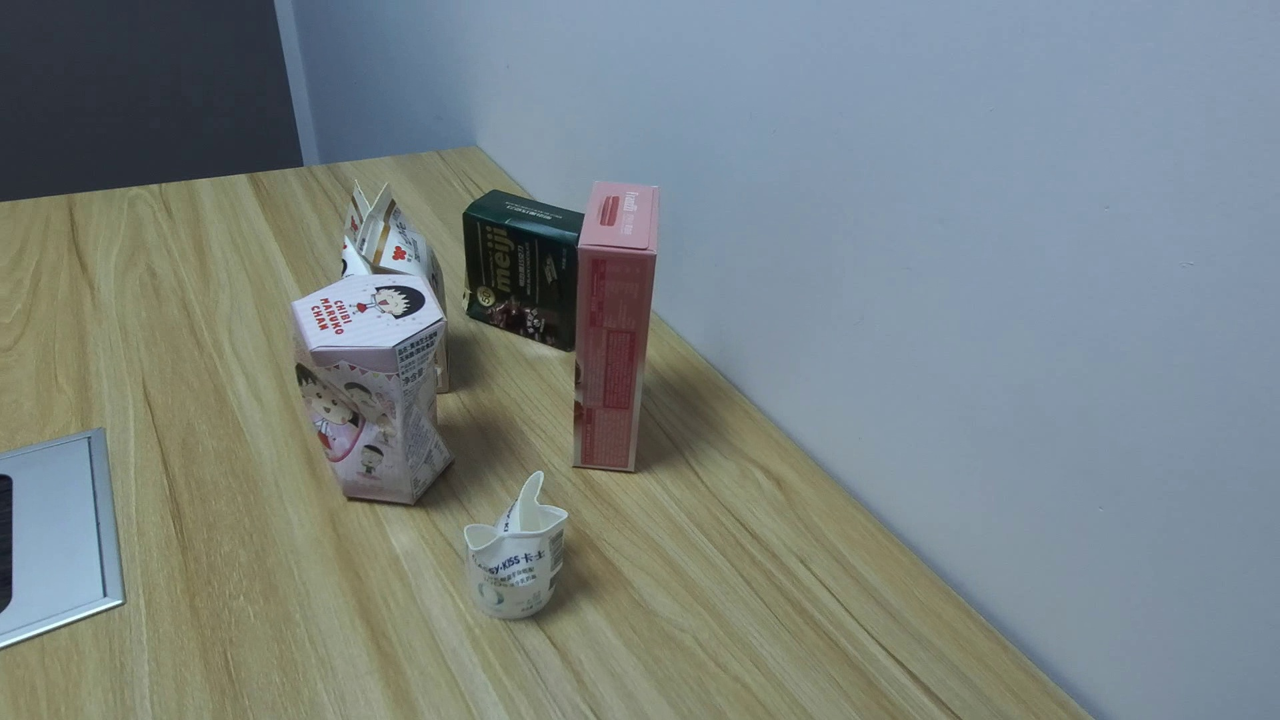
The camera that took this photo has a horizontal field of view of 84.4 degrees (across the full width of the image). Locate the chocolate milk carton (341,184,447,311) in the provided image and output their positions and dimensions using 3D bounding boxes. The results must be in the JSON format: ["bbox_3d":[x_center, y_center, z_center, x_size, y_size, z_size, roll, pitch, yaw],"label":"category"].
[{"bbox_3d":[-0.190,-0.055,0.544,0.074,0.155,0.076,-2,38,-10],"label":"chocolate milk carton"}]

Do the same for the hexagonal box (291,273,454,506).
[{"bbox_3d":[-0.171,0.019,0.467,0.088,0.134,0.093,19,39,14],"label":"hexagonal box"}]

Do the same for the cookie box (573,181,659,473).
[{"bbox_3d":[-0.017,-0.018,0.498,0.048,0.185,0.096,5,37,-1],"label":"cookie box"}]

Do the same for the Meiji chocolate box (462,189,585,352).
[{"bbox_3d":[-0.094,-0.079,0.617,0.122,0.116,0.058,20,40,16],"label":"Meiji chocolate box"}]

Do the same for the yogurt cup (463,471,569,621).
[{"bbox_3d":[-0.073,0.111,0.415,0.055,0.072,0.055,-11,44,-20],"label":"yogurt cup"}]
